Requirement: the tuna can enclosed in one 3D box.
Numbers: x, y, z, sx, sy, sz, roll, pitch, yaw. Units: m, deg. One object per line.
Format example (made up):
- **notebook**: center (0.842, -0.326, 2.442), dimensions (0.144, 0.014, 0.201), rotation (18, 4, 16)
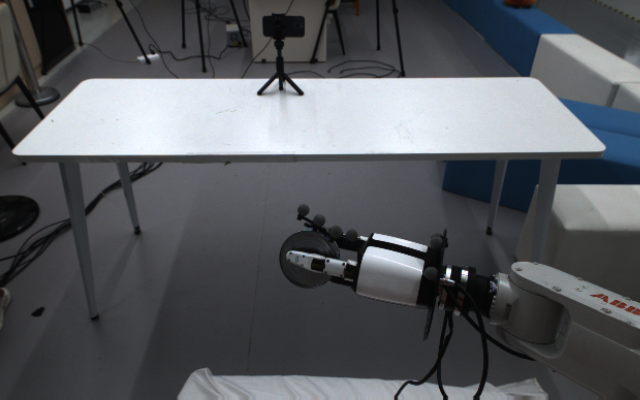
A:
- **tuna can**: center (-0.013, 0.085, 0.711), dimensions (0.085, 0.085, 0.034), rotation (10, 5, 11)
